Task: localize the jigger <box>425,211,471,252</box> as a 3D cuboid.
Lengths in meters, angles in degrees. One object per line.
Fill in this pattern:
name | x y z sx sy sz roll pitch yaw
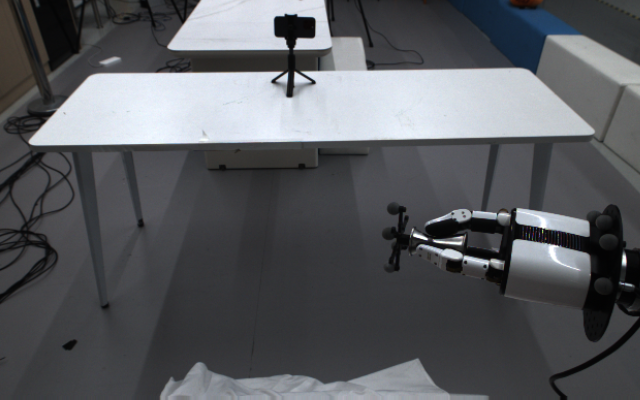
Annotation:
jigger | 0.159 0.054 0.625 0.071 0.043 0.043 7 34 21
